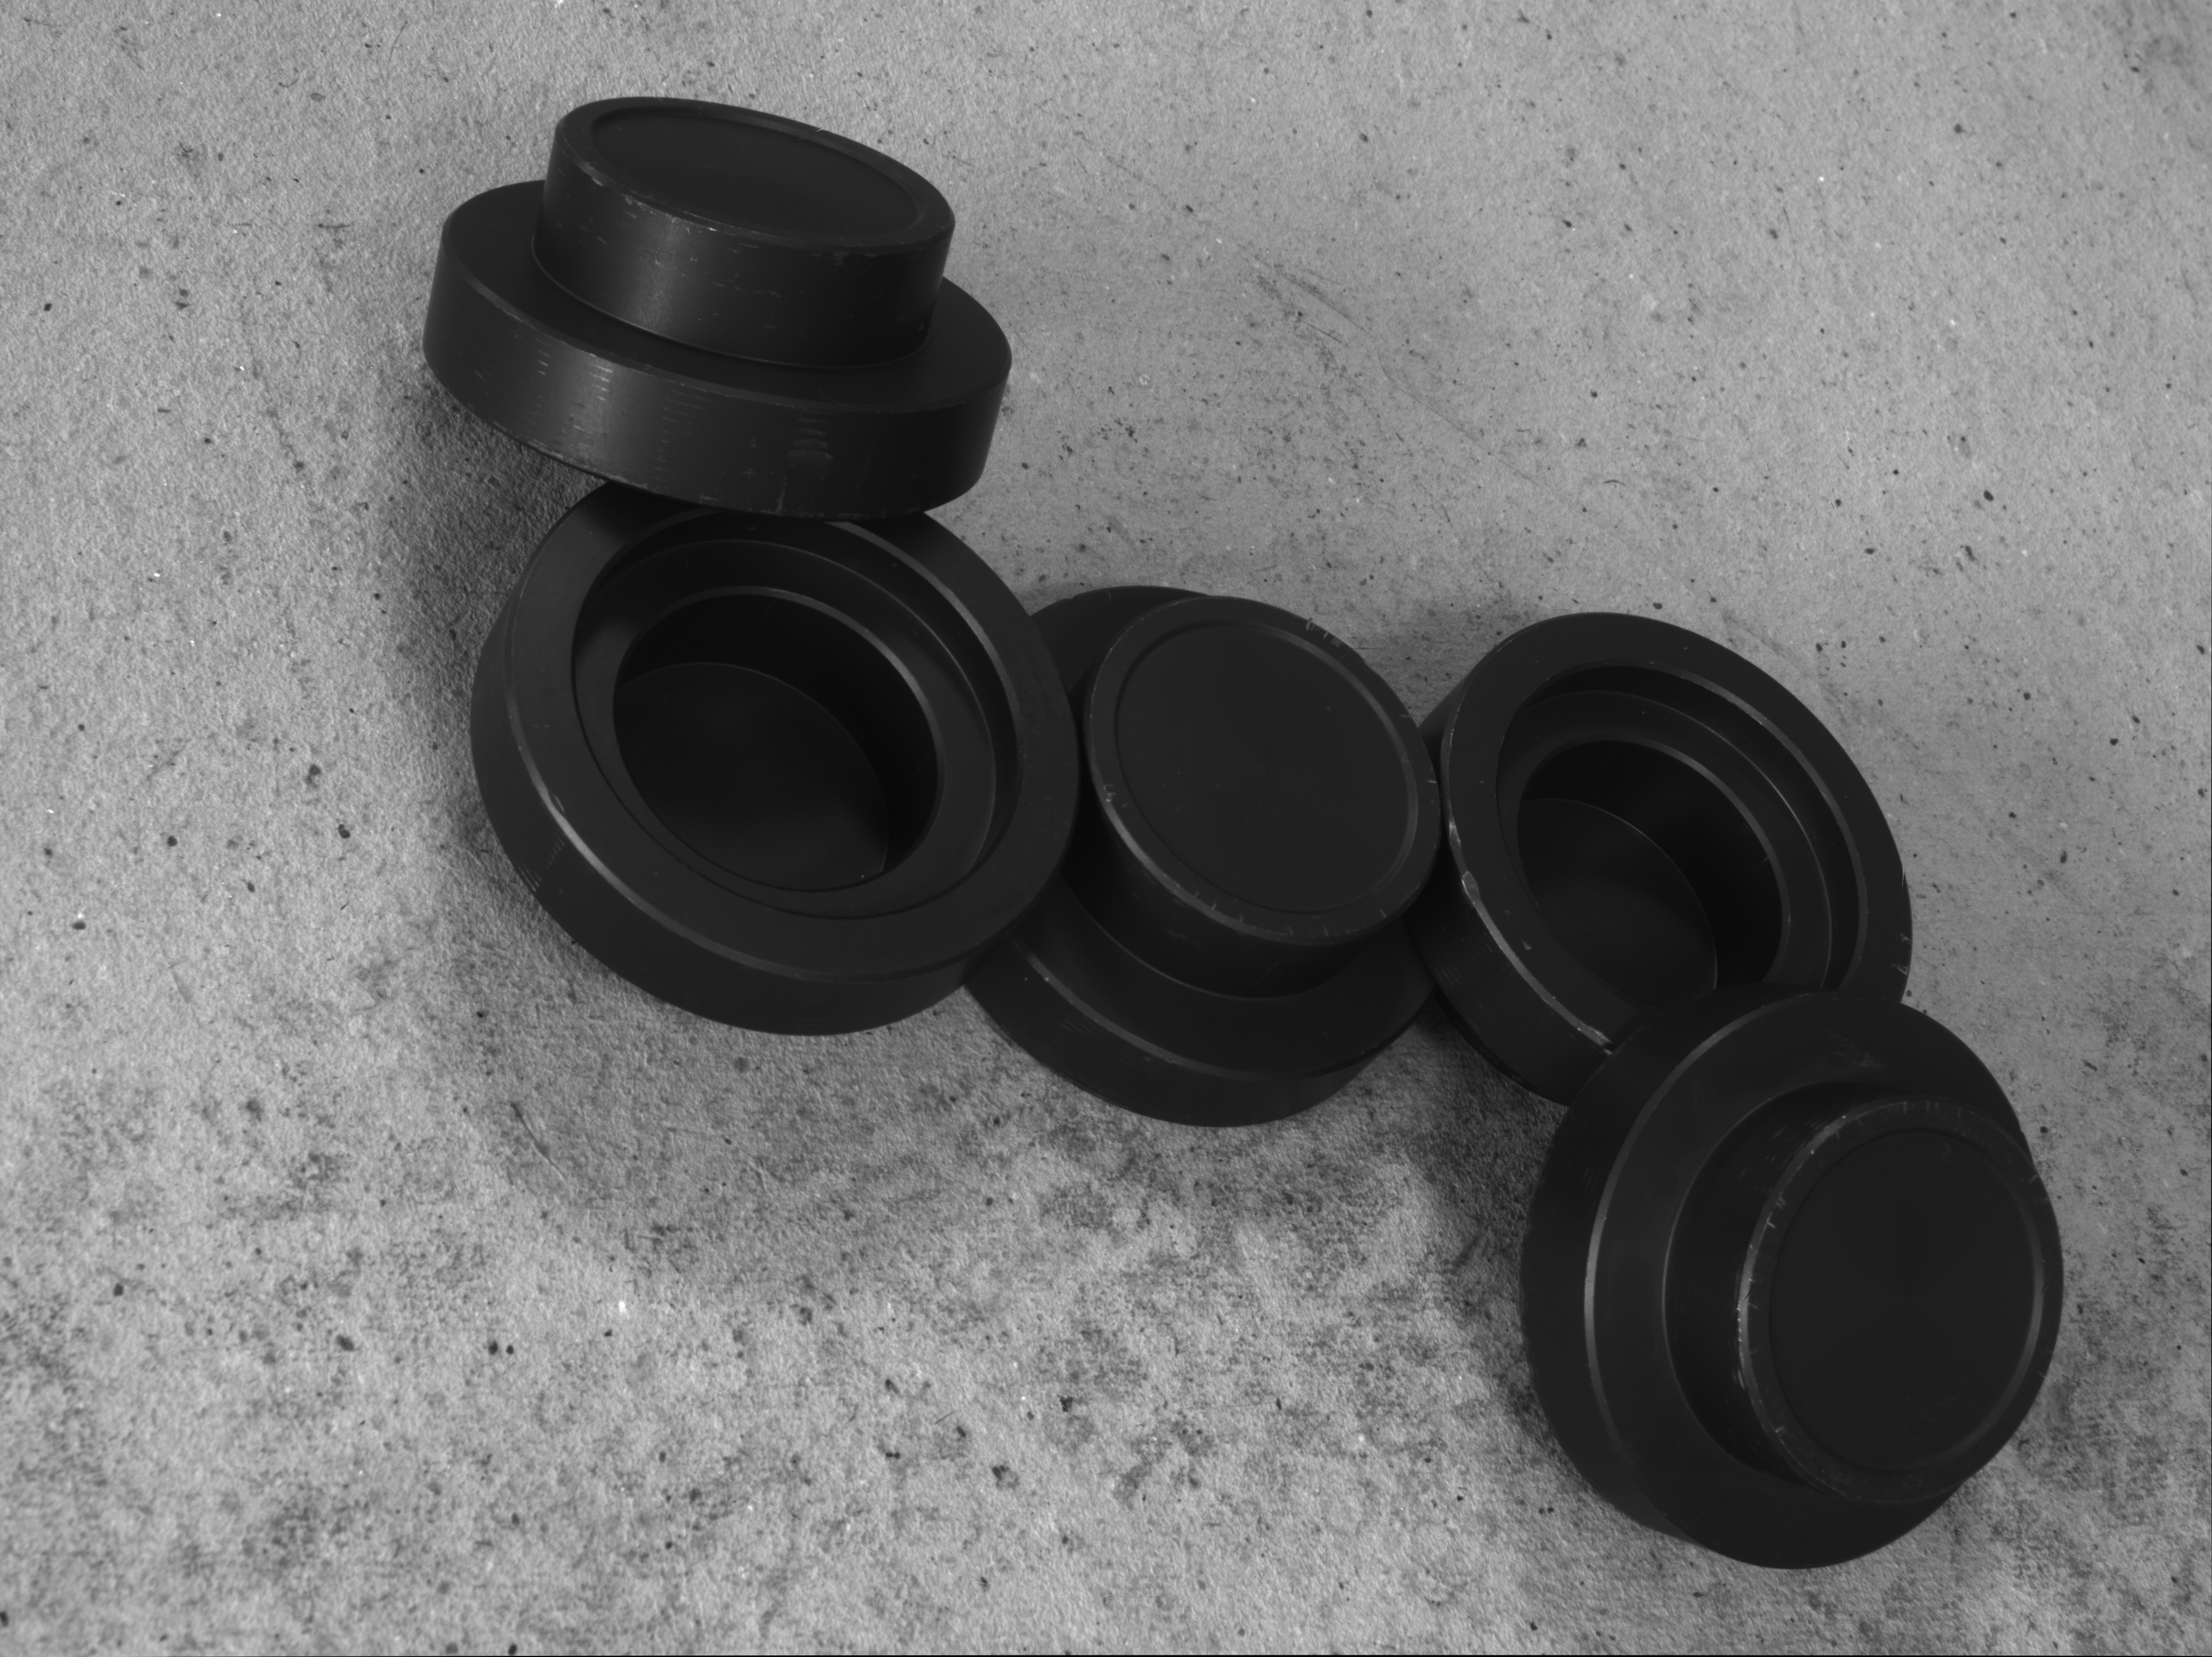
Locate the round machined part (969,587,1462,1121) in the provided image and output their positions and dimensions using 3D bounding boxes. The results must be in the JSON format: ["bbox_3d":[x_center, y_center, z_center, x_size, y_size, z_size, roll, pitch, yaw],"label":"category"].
[{"bbox_3d":[0.020,-0.002,0.638,0.098,0.042,0.098,13,54,-19],"label":"round machined part"}]

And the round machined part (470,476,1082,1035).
[{"bbox_3d":[-0.057,-0.010,0.603,0.098,0.042,0.098,13,57,-20],"label":"round machined part"}]

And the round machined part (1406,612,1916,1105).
[{"bbox_3d":[0.095,0.013,0.670,0.098,0.042,0.098,13,57,-20],"label":"round machined part"}]

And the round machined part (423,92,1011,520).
[{"bbox_3d":[-0.063,-0.093,0.622,0.098,0.042,0.098,13,26,-7],"label":"round machined part"}]

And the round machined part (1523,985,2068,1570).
[{"bbox_3d":[0.122,0.076,0.618,0.098,0.042,0.098,0,91,-28],"label":"round machined part"}]
